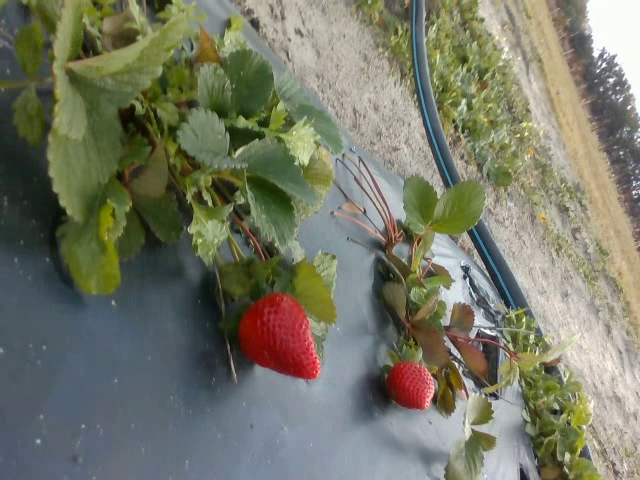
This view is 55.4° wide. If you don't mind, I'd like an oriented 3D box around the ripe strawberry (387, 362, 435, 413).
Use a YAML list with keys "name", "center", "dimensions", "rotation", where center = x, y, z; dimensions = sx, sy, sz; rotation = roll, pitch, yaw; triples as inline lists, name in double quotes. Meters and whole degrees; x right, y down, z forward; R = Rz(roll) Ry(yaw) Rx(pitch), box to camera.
- name: "ripe strawberry"
  center: [0.065, 0.106, 0.412]
  dimensions: [0.041, 0.045, 0.052]
  rotation: [0, 17, -7]

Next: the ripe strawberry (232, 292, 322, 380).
- name: "ripe strawberry"
  center: [-0.017, 0.051, 0.289]
  dimensions: [0.046, 0.051, 0.050]
  rotation: [-31, 37, -24]
